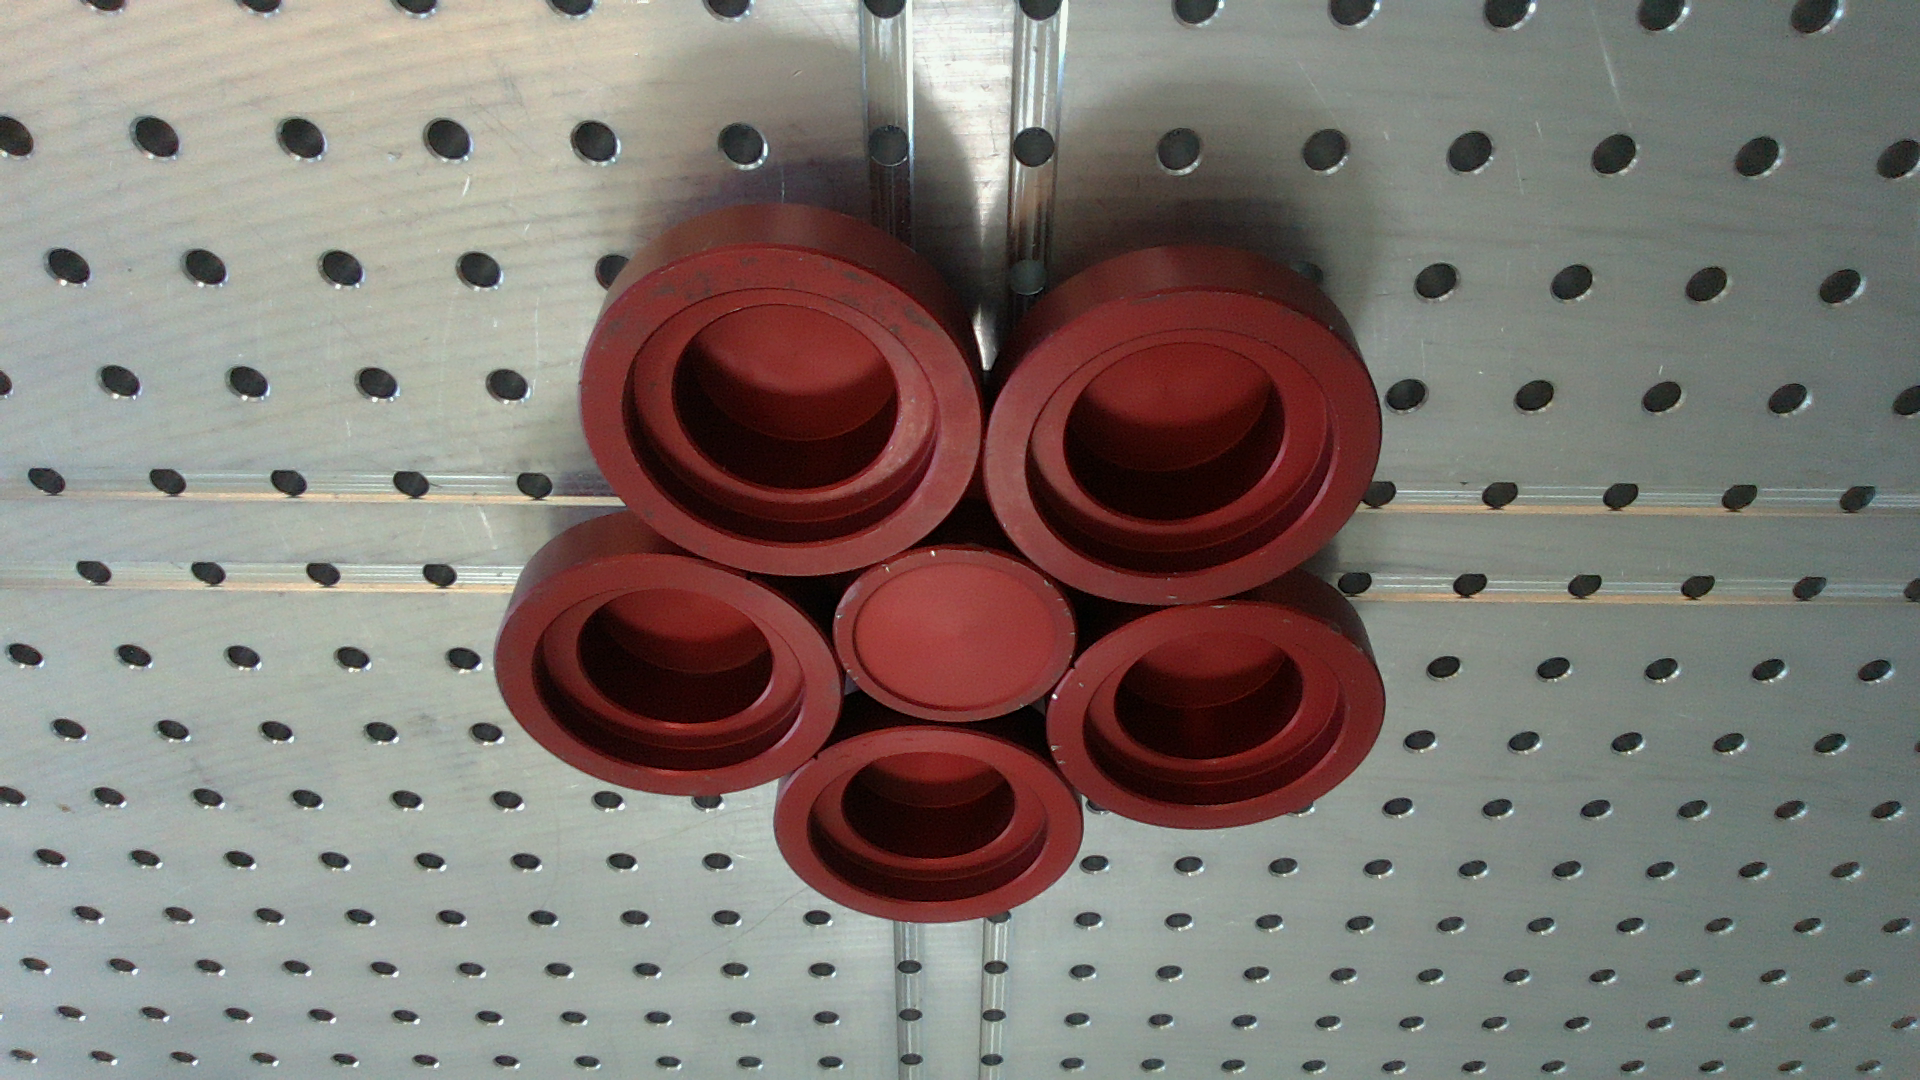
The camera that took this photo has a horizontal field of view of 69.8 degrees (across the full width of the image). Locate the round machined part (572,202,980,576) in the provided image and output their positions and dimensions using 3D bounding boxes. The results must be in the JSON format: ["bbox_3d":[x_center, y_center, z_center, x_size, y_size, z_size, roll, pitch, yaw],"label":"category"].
[{"bbox_3d":[-0.044,-0.041,0.347,0.098,0.042,0.098,0,130,0],"label":"round machined part"}]

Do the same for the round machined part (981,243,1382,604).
[{"bbox_3d":[0.054,-0.033,0.354,0.098,0.042,0.098,0,130,0],"label":"round machined part"}]

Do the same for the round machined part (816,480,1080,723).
[{"bbox_3d":[-0.002,0.014,0.394,0.098,0.042,0.098,0,130,0],"label":"round machined part"}]

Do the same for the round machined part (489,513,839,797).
[{"bbox_3d":[-0.083,0.028,0.405,0.098,0.042,0.098,0,130,0],"label":"round machined part"}]

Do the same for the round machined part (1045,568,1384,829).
[{"bbox_3d":[0.074,0.041,0.417,0.098,0.042,0.098,0,130,0],"label":"round machined part"}]

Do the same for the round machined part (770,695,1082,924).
[{"bbox_3d":[-0.011,0.079,0.448,0.098,0.042,0.098,0,130,0],"label":"round machined part"}]
